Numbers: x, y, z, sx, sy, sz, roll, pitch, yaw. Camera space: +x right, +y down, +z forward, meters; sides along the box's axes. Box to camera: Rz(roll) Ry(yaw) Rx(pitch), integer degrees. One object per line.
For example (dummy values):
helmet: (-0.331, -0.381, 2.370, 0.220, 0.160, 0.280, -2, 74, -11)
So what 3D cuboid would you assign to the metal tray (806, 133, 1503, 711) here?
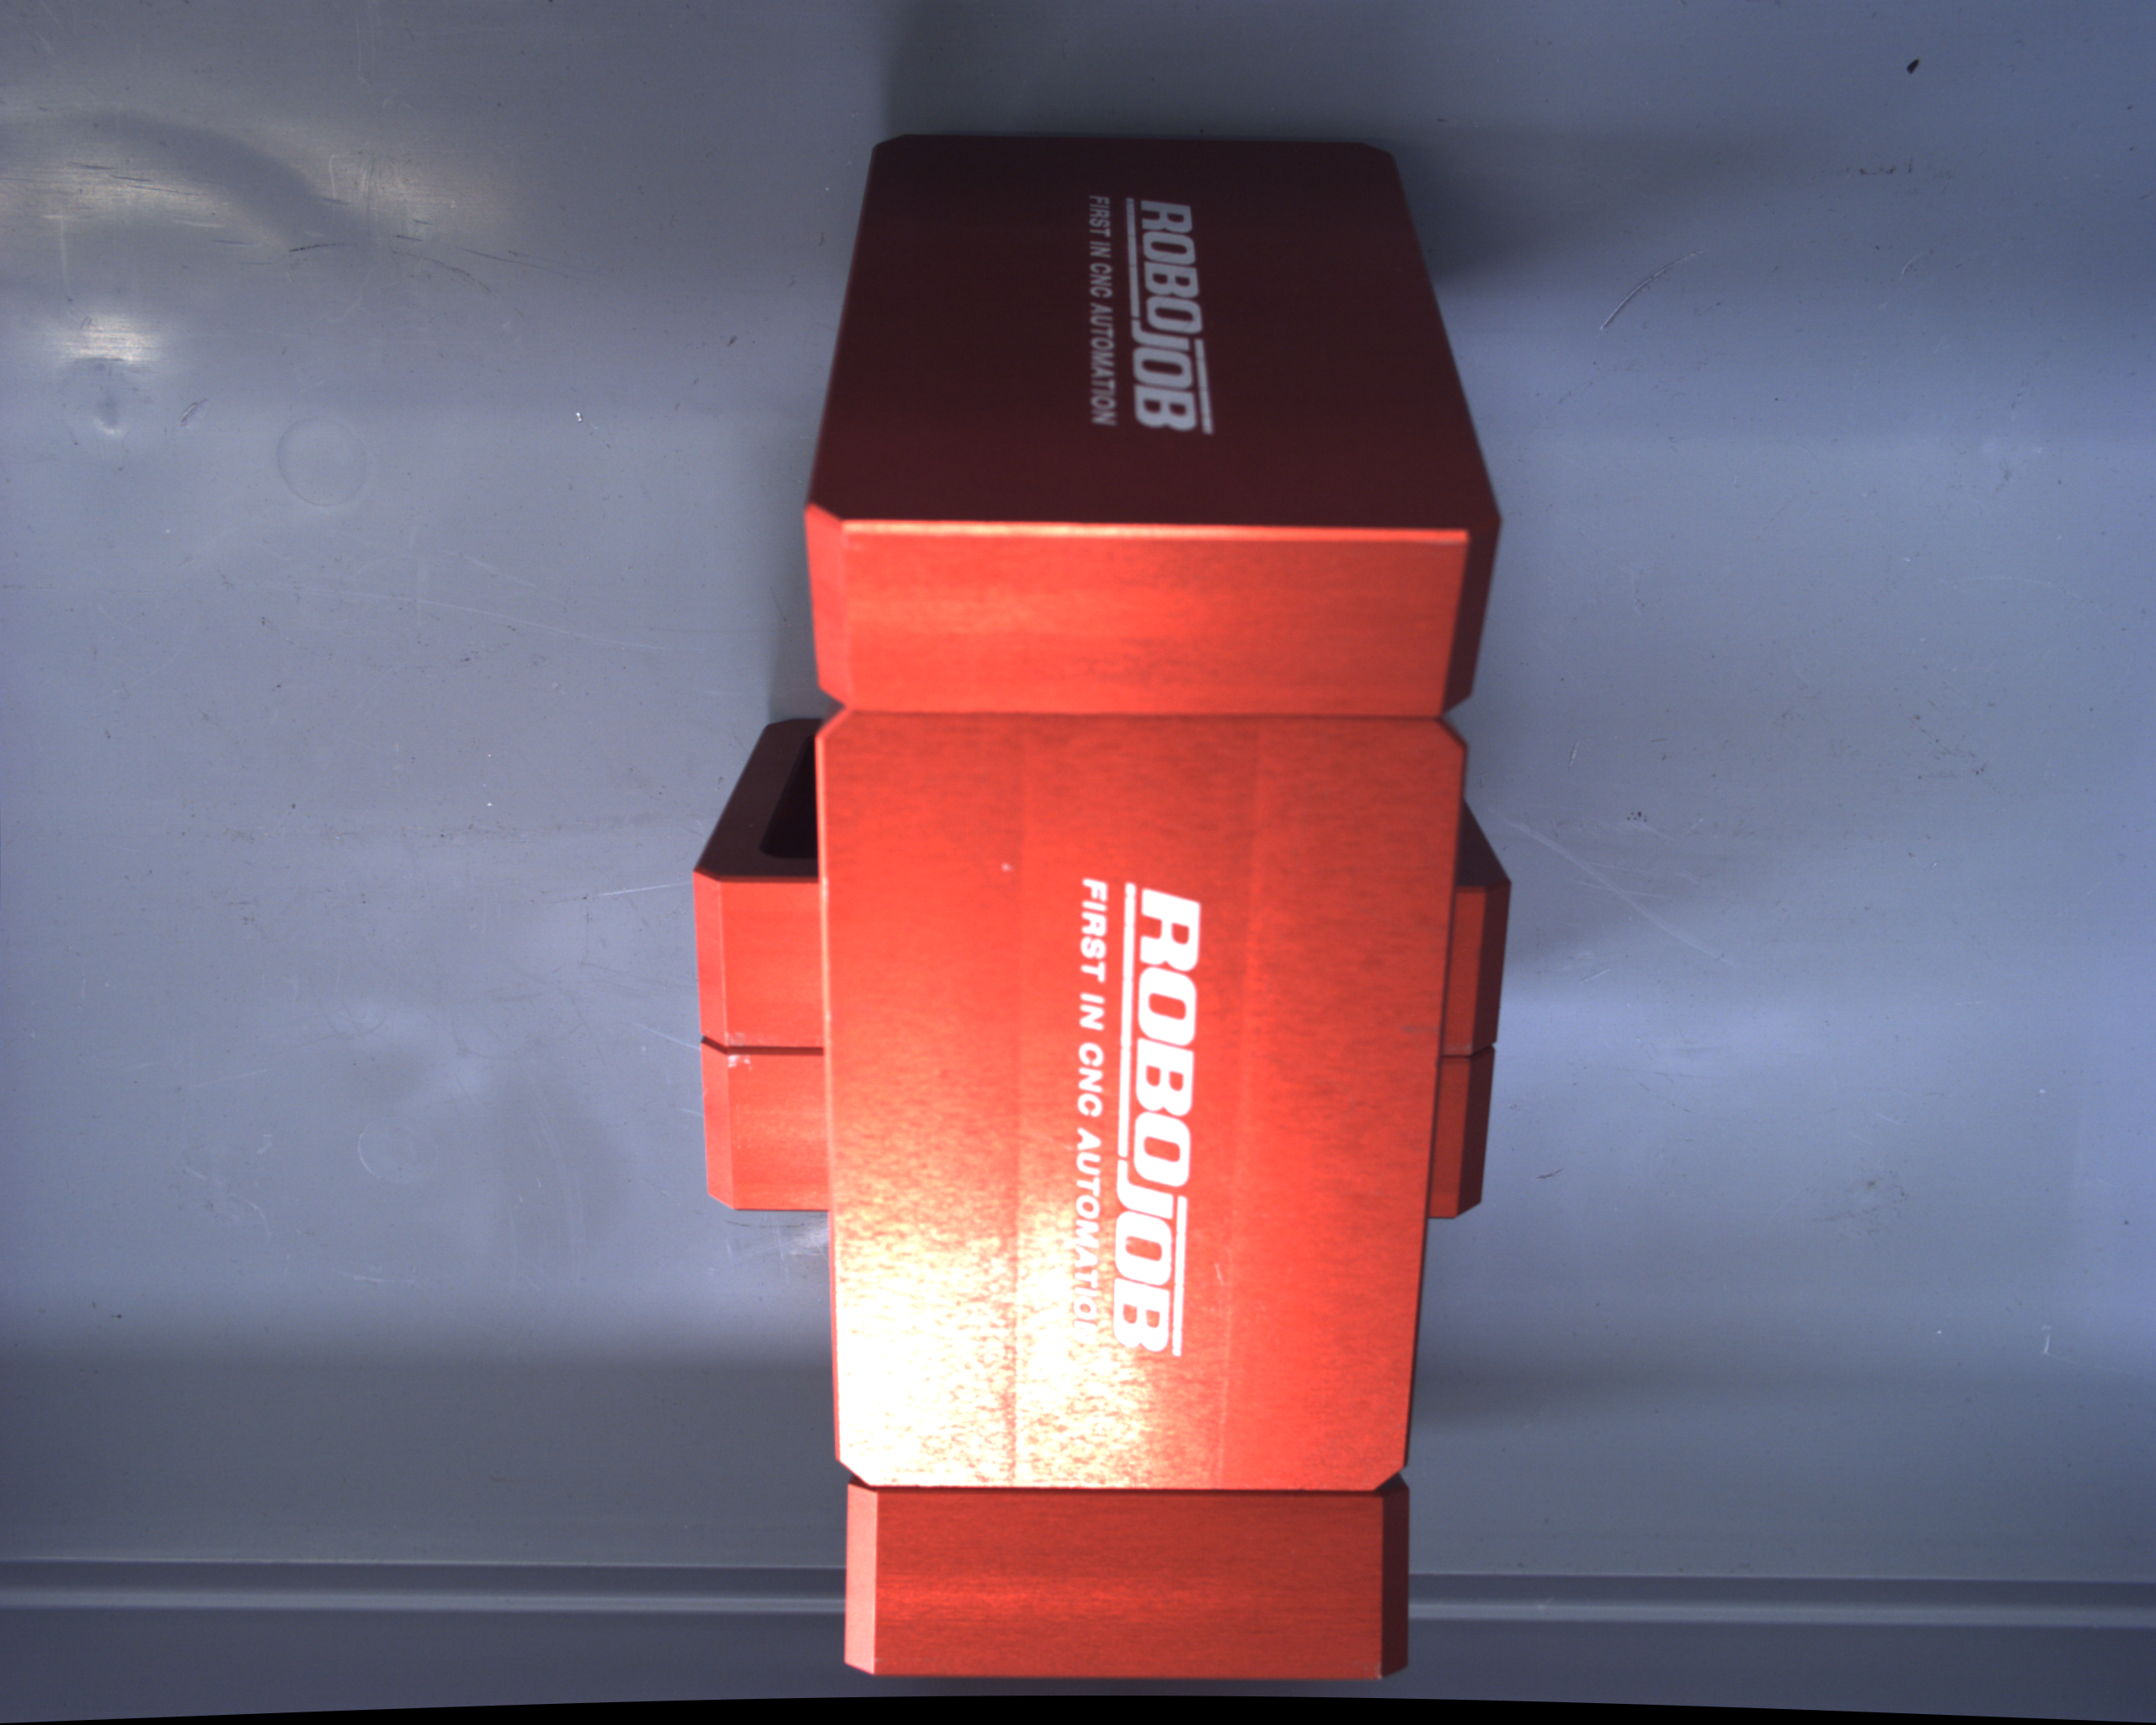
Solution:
metal tray: (0.010, -0.074, 0.326, 0.091, 0.130, 0.030, 1, 130, -1)

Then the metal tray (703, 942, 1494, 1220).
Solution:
metal tray: (0.003, 0.030, 0.387, 0.131, 0.090, 0.030, 1, 110, -1)

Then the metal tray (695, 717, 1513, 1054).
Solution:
metal tray: (0.004, 0.001, 0.376, 0.131, 0.090, 0.030, 1, 110, -1)

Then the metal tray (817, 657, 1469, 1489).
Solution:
metal tray: (0.008, 0.034, 0.323, 0.091, 0.030, 0.129, 0, 110, -1)

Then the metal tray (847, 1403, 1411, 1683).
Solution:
metal tray: (0.008, 0.117, 0.395, 0.091, 0.130, 0.030, 0, 89, -1)
